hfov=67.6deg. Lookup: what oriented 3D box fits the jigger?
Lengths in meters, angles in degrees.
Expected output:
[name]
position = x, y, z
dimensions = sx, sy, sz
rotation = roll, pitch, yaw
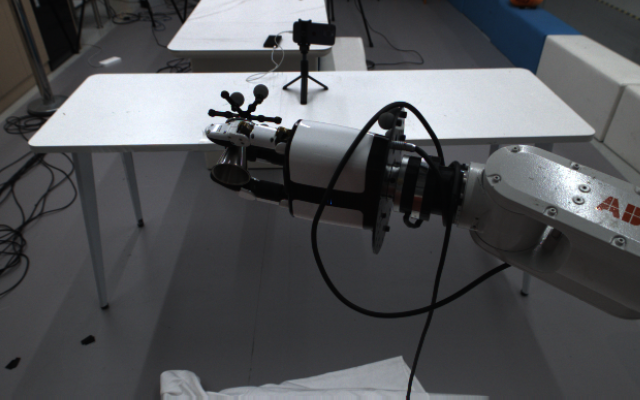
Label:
[jigger]
position = -0.100, -0.058, 0.562
dimensions = 0.043, 0.043, 0.071
rotation = 6, 60, 6
